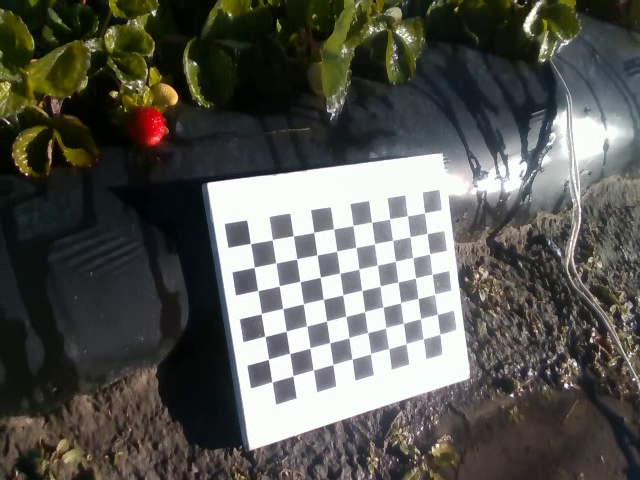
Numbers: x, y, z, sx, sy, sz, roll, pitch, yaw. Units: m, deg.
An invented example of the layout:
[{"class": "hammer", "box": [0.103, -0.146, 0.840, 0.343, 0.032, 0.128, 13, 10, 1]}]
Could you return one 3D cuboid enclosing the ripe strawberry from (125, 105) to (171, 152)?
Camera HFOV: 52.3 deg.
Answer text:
[{"class": "ripe strawberry", "box": [-0.124, -0.079, 0.474, 0.039, 0.040, 0.039, -19, 34, -15]}]
